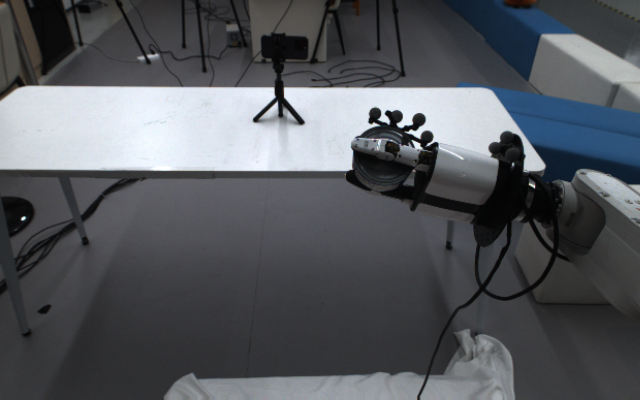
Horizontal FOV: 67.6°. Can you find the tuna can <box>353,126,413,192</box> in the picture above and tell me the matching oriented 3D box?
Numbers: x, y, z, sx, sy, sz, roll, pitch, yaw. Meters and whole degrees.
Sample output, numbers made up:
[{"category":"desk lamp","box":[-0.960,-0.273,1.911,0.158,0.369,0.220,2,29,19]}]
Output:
[{"category":"tuna can","box":[0.088,-0.058,0.666,0.085,0.034,0.085,0,72,0]}]
